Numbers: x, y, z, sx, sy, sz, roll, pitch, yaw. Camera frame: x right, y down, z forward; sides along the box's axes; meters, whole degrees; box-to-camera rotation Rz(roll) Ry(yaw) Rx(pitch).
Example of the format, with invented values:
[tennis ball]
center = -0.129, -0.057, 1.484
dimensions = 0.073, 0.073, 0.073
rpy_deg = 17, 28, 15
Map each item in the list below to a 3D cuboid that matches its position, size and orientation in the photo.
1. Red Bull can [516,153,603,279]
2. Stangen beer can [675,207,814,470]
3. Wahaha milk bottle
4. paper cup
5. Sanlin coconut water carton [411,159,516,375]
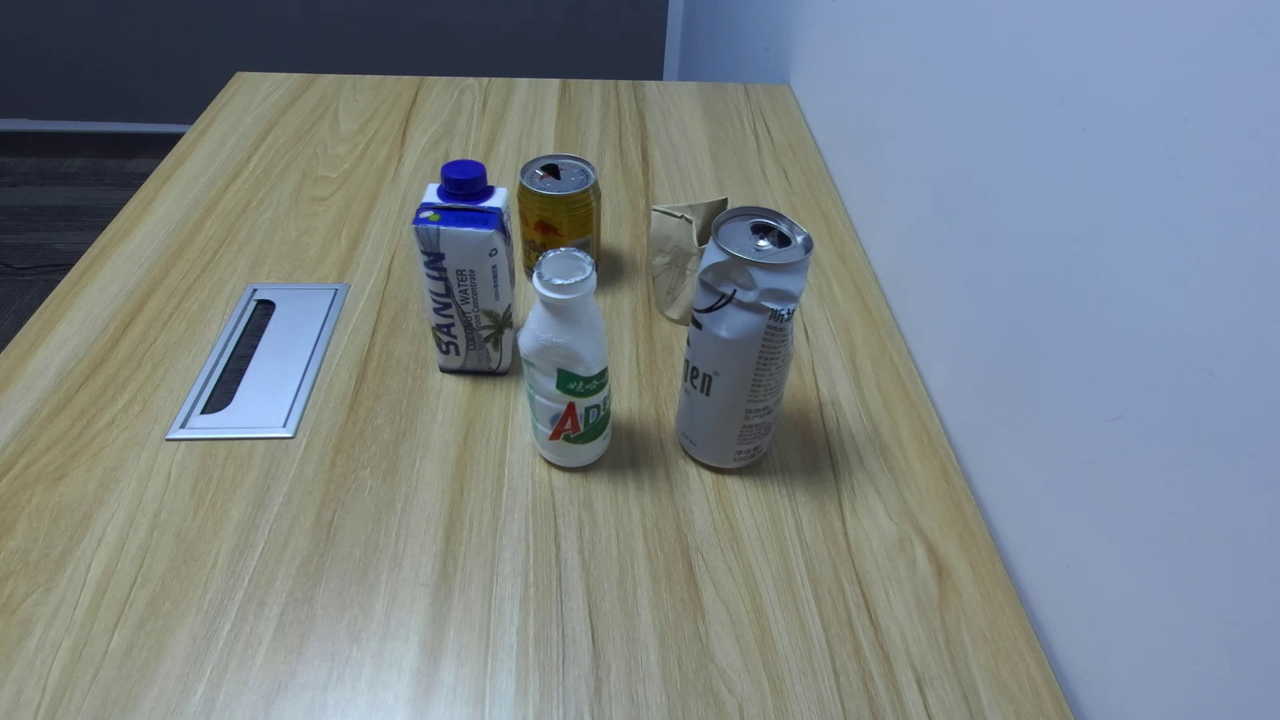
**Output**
[Red Bull can]
center = -0.064, -0.110, 0.574
dimensions = 0.067, 0.093, 0.067
rpy_deg = 1, 43, -1
[Stangen beer can]
center = 0.060, -0.006, 0.424
dimensions = 0.066, 0.166, 0.066
rpy_deg = 24, 47, 20
[Wahaha milk bottle]
center = -0.042, 0.003, 0.421
dimensions = 0.055, 0.149, 0.055
rpy_deg = 2, 47, -2
[paper cup]
center = 0.034, -0.075, 0.542
dimensions = 0.058, 0.083, 0.066
rpy_deg = 6, 35, 12
[Sanlin coconut water carton]
center = -0.115, -0.058, 0.483
dimensions = 0.060, 0.144, 0.060
rpy_deg = 3, 44, -2
